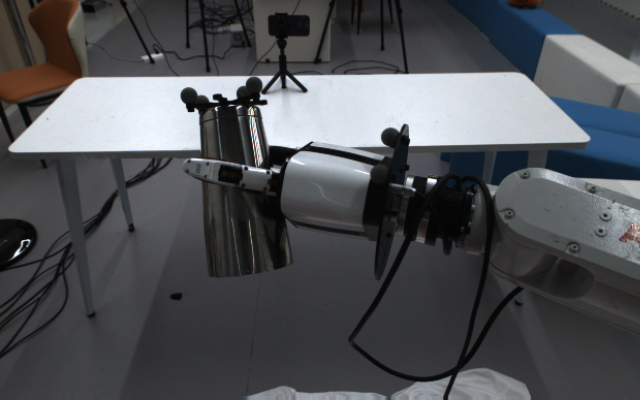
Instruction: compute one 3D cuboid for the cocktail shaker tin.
[{"bbox_3d":[-0.084,-0.010,0.520,0.093,0.170,0.093,-8,1,0],"label":"cocktail shaker tin"}]
